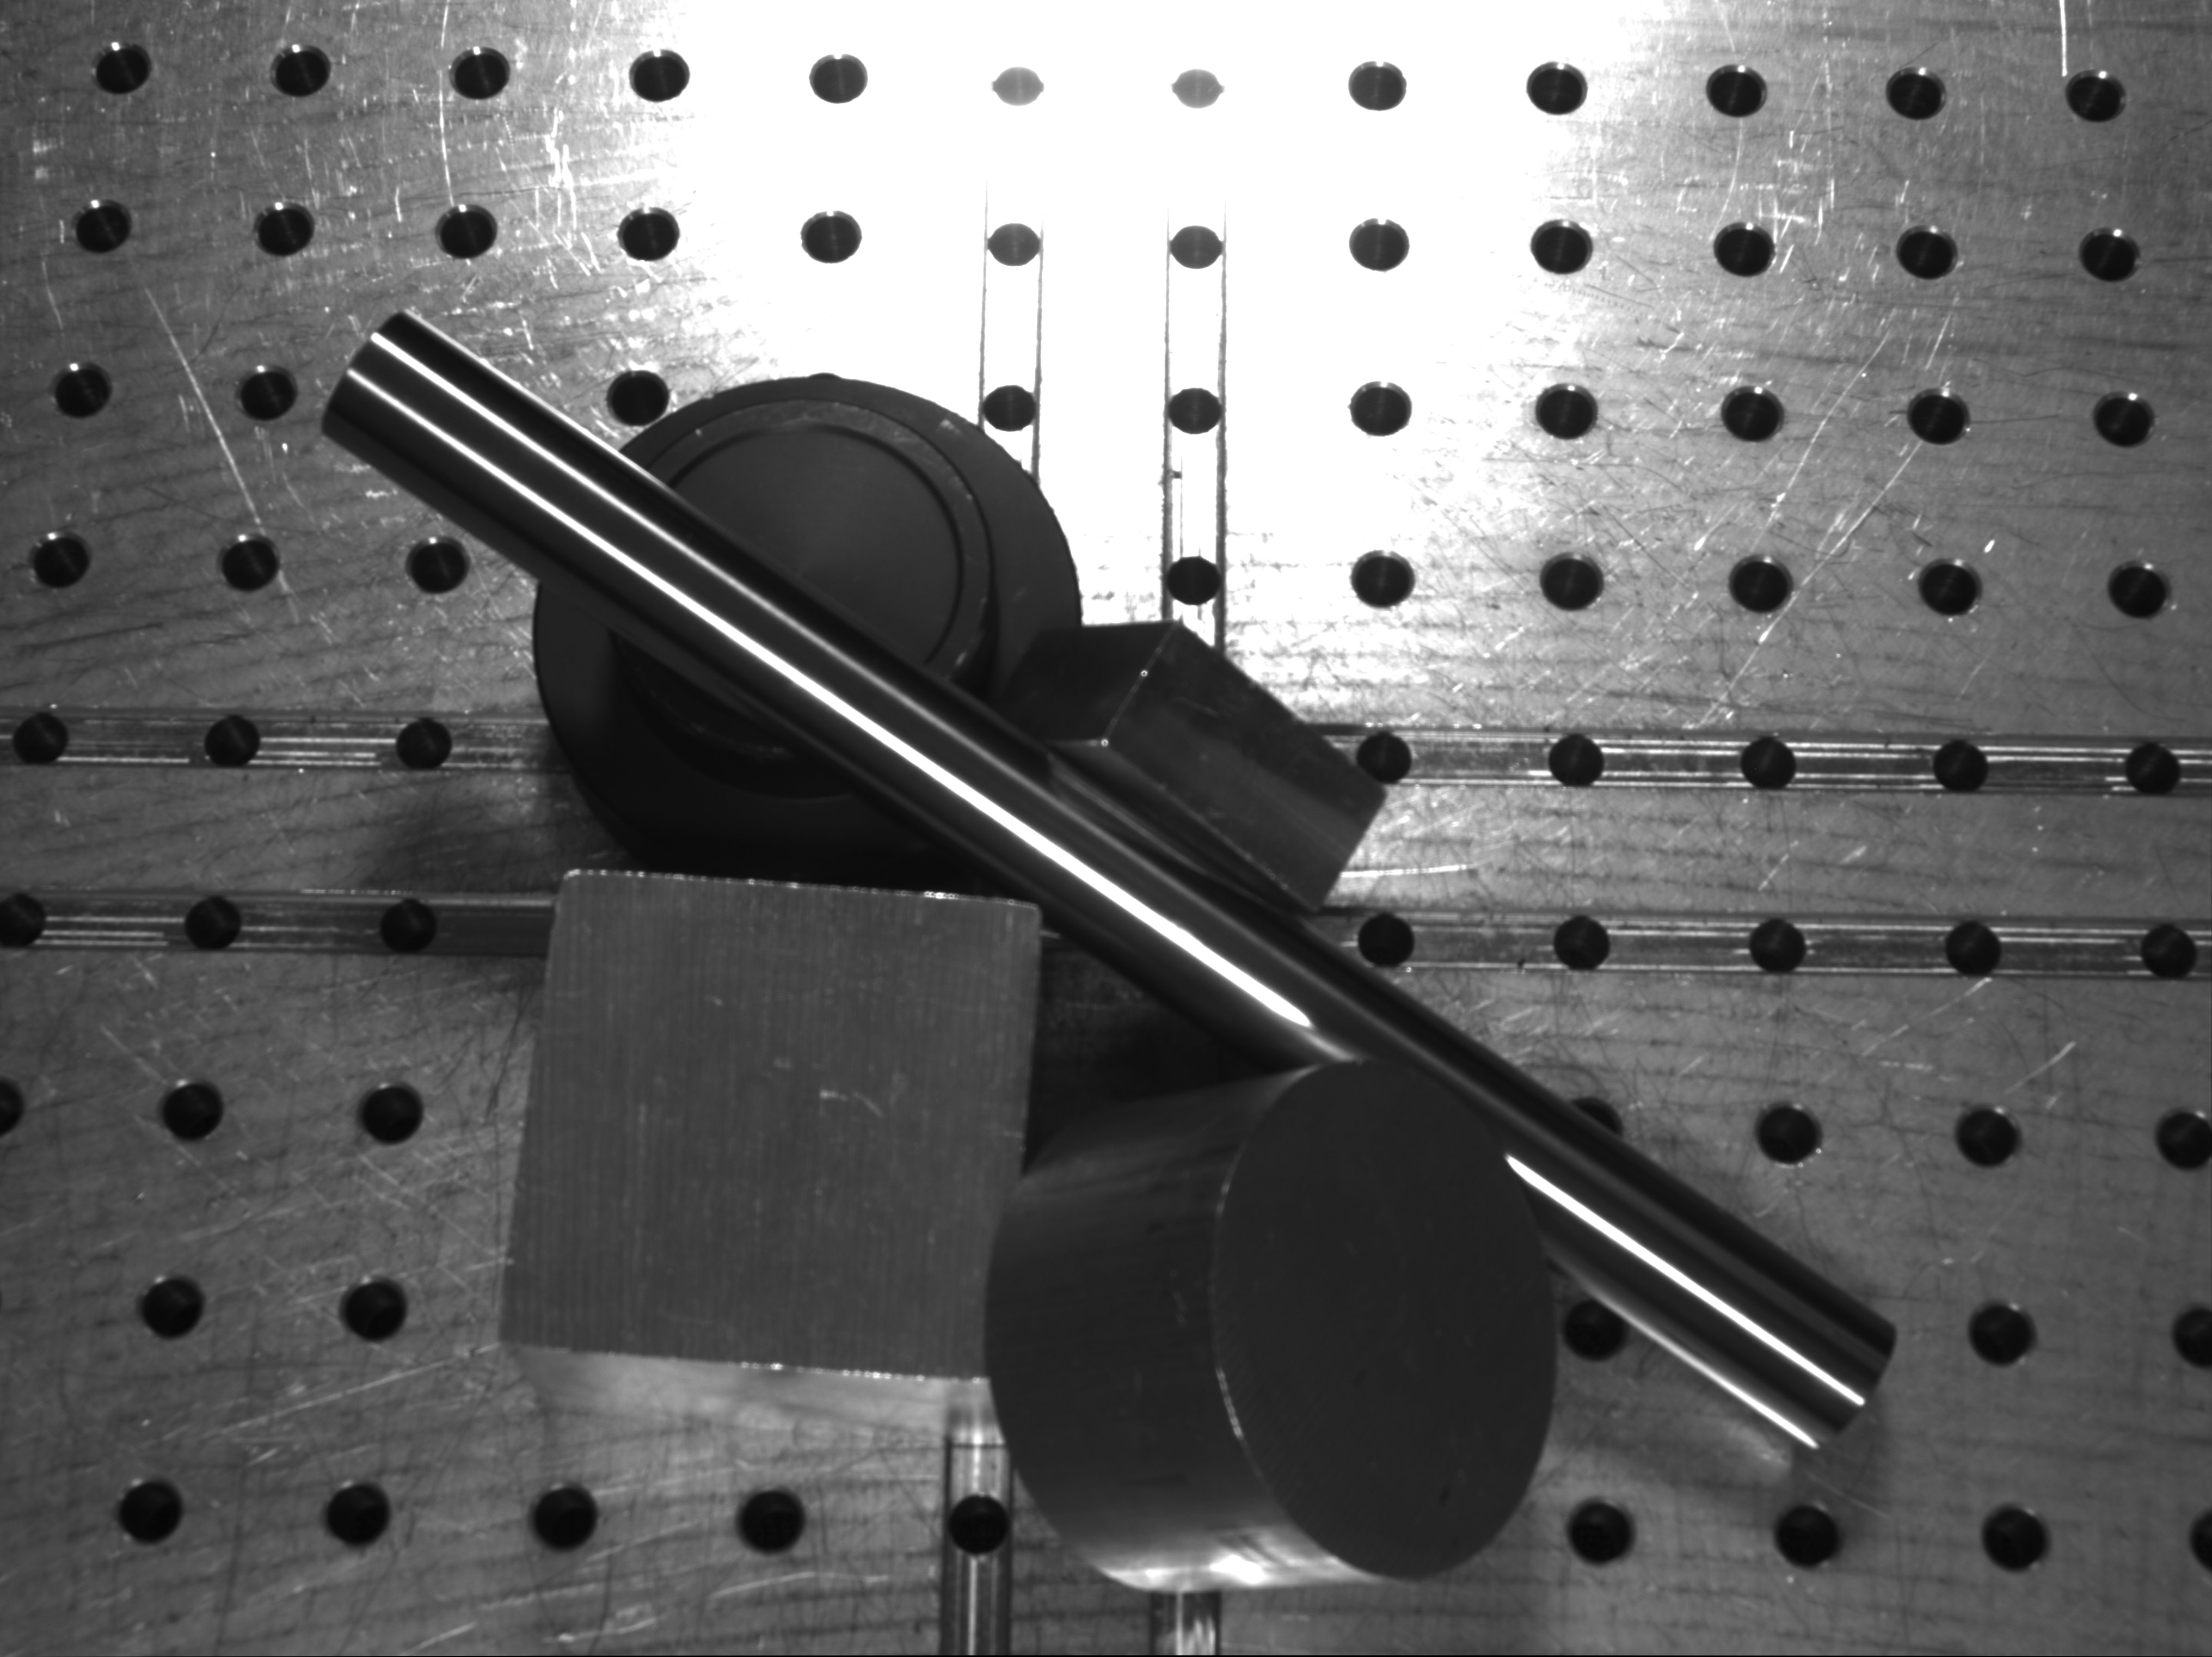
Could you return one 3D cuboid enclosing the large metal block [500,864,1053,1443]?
[{"bbox_3d":[-0.052,0.055,0.611,0.080,0.050,0.080,5,70,2],"label":"large metal block"}]

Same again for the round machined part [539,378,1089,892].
[{"bbox_3d":[-0.052,-0.037,0.652,0.098,0.042,0.098,0,70,0],"label":"round machined part"}]

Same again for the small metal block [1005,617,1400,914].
[{"bbox_3d":[0.014,-0.011,0.628,0.050,0.050,0.025,38,74,-23],"label":"small metal block"}]

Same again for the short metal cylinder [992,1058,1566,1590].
[{"bbox_3d":[0.028,0.080,0.582,0.080,0.050,0.080,15,69,-43],"label":"short metal cylinder"}]

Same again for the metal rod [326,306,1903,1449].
[{"bbox_3d":[0.002,0.009,0.610,0.300,0.025,0.025,34,73,-1],"label":"metal rod"}]
